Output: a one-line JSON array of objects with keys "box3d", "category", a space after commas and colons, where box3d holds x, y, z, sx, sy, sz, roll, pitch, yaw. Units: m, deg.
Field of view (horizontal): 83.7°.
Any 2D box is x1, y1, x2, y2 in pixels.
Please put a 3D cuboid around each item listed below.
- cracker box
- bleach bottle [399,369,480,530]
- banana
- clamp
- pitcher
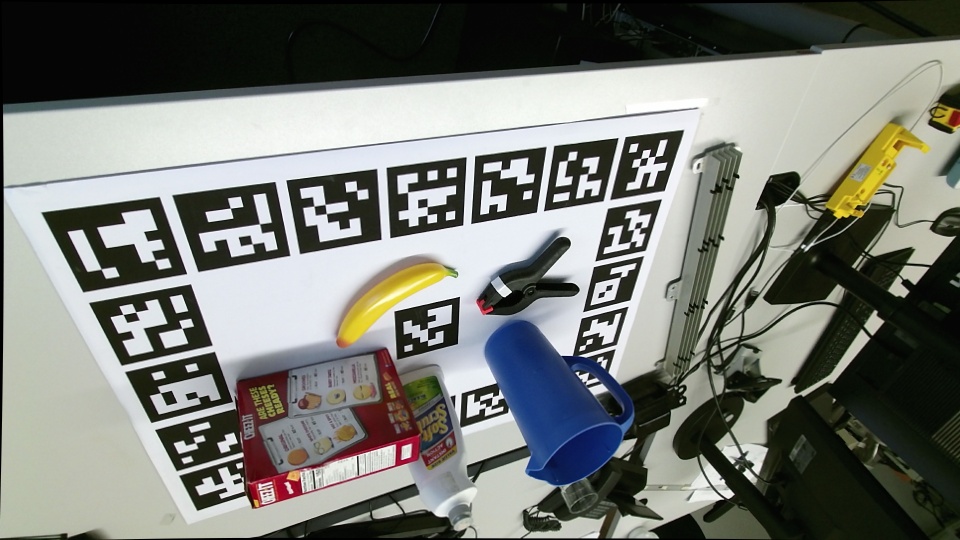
[{"box3d": [-0.205, 0.219, 0.731, 0.214, 0.163, 0.072, -11, 133, -23], "category": "cracker box"}, {"box3d": [-0.058, 0.268, 0.813, 0.103, 0.250, 0.068, -11, 131, -21], "category": "bleach bottle"}, {"box3d": [-0.127, 0.054, 0.759, 0.197, 0.038, 0.074, -36, 135, 2], "category": "banana"}, {"box3d": [0.077, 0.039, 0.847, 0.165, 0.036, 0.122, -23, 135, -8], "category": "clamp"}, {"box3d": [0.125, 0.214, 0.842, 0.189, 0.241, 0.133, -24, 134, -6], "category": "pitcher"}]
